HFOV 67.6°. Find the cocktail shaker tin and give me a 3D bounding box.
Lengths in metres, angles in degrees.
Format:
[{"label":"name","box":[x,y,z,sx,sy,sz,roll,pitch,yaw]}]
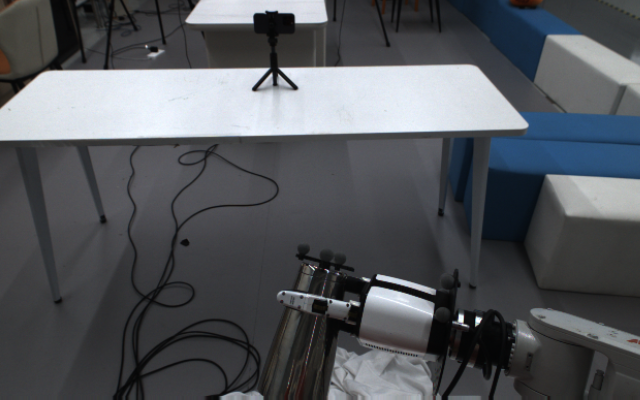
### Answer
[{"label":"cocktail shaker tin","box":[-0.015,0.171,0.638,0.093,0.170,0.093,15,-5,1]}]
